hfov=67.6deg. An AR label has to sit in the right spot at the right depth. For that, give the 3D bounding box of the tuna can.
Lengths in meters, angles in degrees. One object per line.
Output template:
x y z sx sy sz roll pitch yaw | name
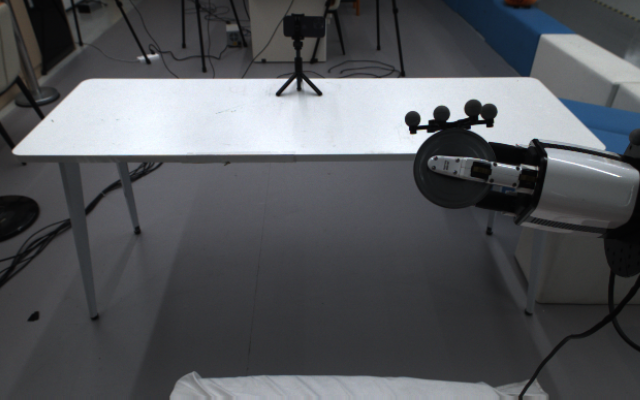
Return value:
0.148 -0.037 0.527 0.085 0.085 0.034 10 2 12 | tuna can
